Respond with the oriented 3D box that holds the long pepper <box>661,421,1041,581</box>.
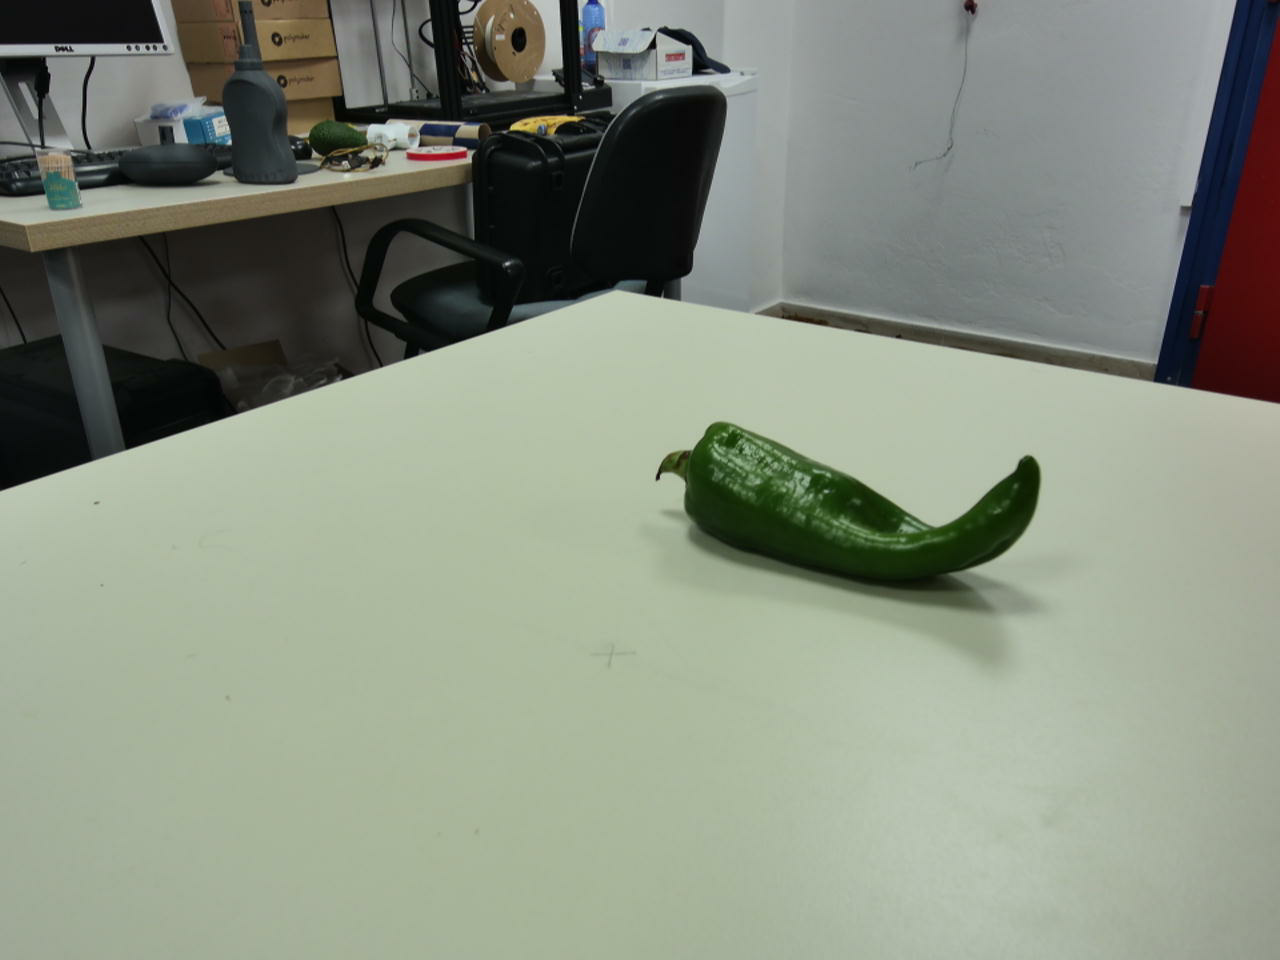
[{"bbox_3d":[0.082,0.005,0.443,0.175,0.065,0.058,17,28,34],"label":"long pepper"}]
